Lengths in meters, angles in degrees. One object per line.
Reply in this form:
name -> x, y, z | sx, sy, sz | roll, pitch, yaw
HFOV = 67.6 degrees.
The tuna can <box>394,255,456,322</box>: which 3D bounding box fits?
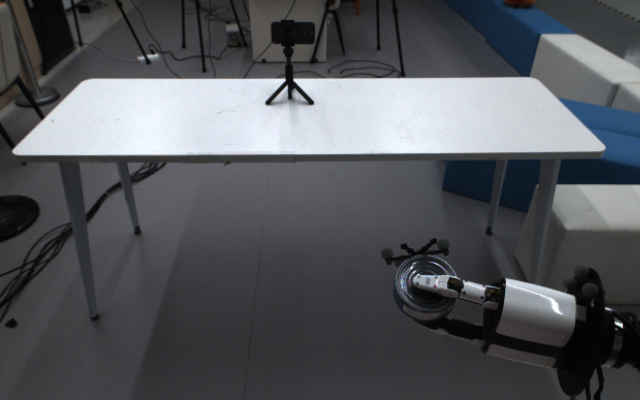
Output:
tuna can -> 0.145, 0.116, 0.652 | 0.085, 0.034, 0.085 | -3, 60, 5
